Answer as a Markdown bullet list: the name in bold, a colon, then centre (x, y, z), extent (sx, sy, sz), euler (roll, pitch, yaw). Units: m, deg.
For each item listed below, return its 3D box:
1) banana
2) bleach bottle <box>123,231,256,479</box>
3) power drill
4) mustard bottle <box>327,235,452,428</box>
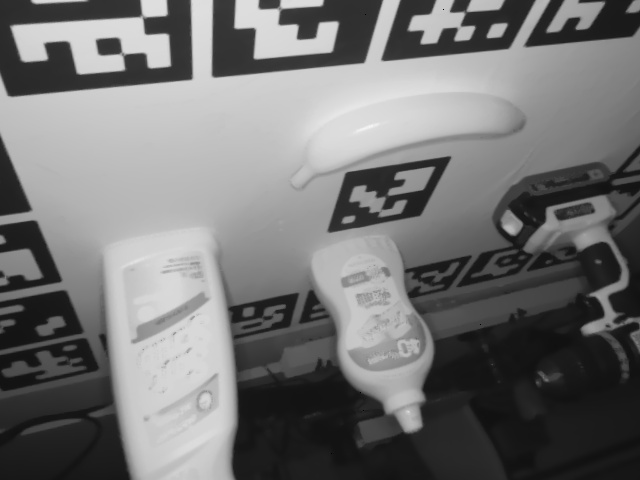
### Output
- **banana**: centre (0.077, -0.085, 0.536), extent (0.199, 0.039, 0.073), euler (-16, 146, -11)
- **bleach bottle**: centre (-0.096, 0.112, 0.557), extent (0.104, 0.251, 0.067), euler (-5, 145, -20)
- **power drill**: centre (0.268, 0.052, 0.664), extent (0.186, 0.187, 0.057), euler (-17, 148, -11)
- **mustard bottle**: centre (0.075, 0.088, 0.672), extent (0.097, 0.192, 0.058), euler (-13, 147, -6)
